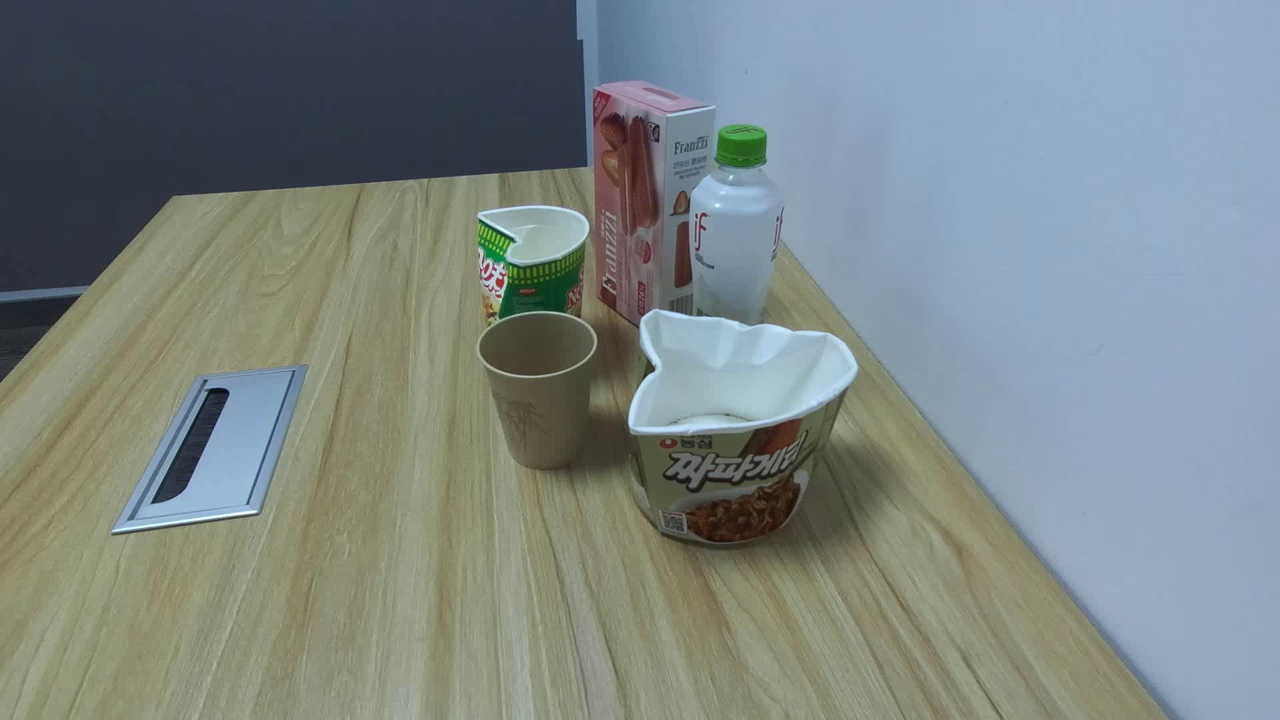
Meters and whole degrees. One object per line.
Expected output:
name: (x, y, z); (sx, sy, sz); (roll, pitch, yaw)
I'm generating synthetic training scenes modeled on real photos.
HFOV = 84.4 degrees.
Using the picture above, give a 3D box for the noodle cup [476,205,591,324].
noodle cup: (-0.079, -0.047, 0.536); (0.087, 0.109, 0.093); (-2, 36, -3)

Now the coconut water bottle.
coconut water bottle: (0.063, -0.060, 0.484); (0.063, 0.189, 0.063); (0, 32, 0)

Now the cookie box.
cookie box: (0.008, -0.117, 0.570); (0.048, 0.185, 0.095); (-20, 39, -30)

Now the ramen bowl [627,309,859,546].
ramen bowl: (0.058, 0.037, 0.421); (0.134, 0.098, 0.113); (-1, 36, -1)

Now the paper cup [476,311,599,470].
paper cup: (-0.062, 0.023, 0.459); (0.075, 0.082, 0.075); (-1, 34, 1)
